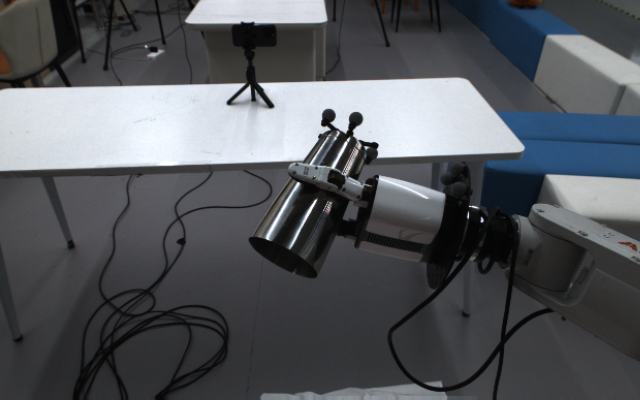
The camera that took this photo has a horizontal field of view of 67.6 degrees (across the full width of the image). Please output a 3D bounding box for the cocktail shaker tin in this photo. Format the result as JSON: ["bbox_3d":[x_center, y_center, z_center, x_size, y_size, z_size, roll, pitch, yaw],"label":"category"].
[{"bbox_3d":[-0.003,-0.003,0.594,0.093,0.093,0.170,18,66,21],"label":"cocktail shaker tin"}]
